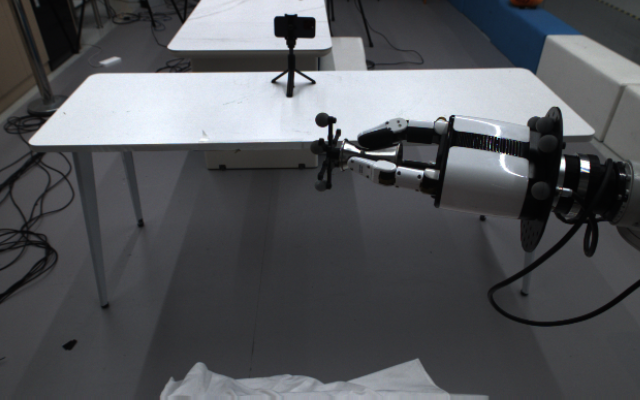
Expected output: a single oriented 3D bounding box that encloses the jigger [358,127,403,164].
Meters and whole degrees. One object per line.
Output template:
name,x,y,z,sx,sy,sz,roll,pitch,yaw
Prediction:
jigger,0.067,-0.053,0.575,0.071,0.043,0.043,7,35,16
